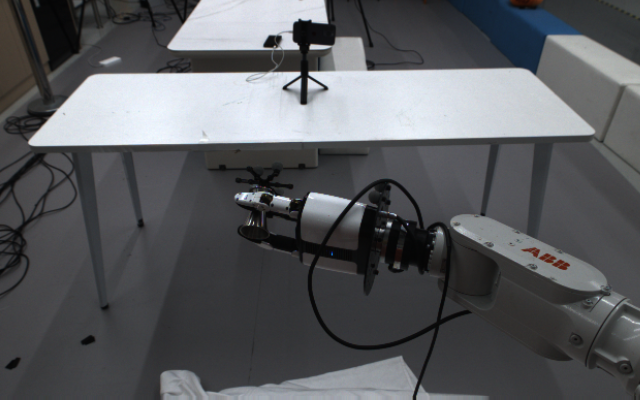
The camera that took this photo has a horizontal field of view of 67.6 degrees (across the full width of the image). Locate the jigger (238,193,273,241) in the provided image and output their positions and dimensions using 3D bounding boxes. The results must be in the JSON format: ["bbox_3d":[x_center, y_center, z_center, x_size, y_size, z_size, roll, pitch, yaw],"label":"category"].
[{"bbox_3d":[-0.094,0.017,0.716,0.043,0.043,0.071,6,61,6],"label":"jigger"}]
